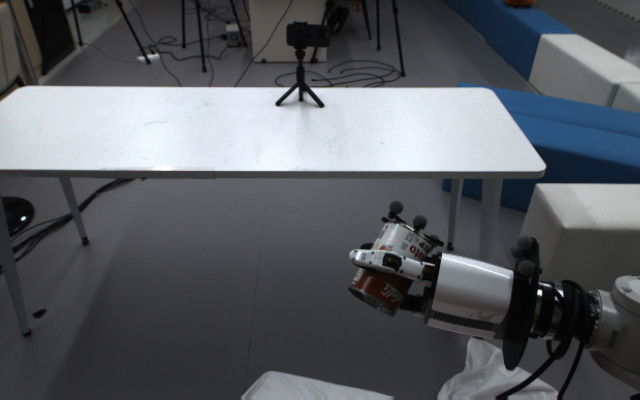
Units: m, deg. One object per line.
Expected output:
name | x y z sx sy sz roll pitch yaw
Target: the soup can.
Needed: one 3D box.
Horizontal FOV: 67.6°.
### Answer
soup can | 0.090 0.085 0.611 0.067 0.067 0.101 24 72 29
